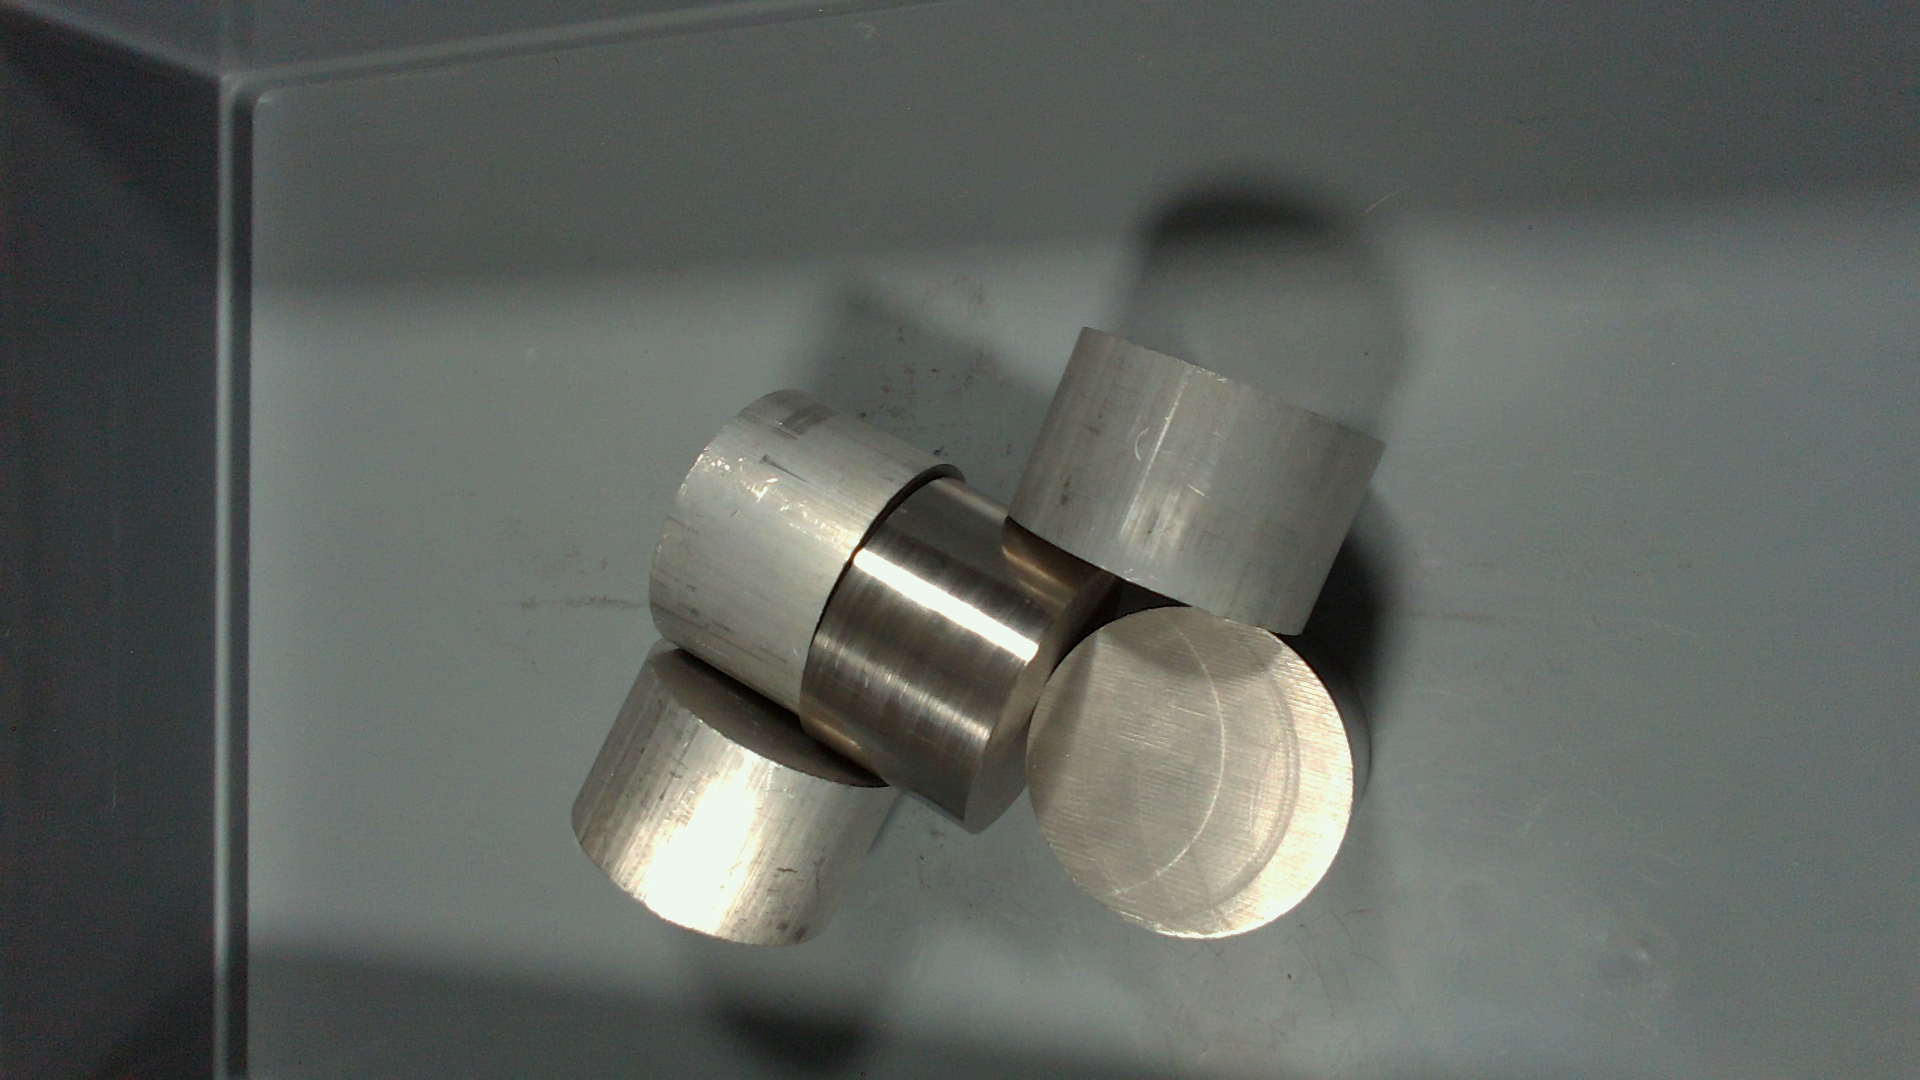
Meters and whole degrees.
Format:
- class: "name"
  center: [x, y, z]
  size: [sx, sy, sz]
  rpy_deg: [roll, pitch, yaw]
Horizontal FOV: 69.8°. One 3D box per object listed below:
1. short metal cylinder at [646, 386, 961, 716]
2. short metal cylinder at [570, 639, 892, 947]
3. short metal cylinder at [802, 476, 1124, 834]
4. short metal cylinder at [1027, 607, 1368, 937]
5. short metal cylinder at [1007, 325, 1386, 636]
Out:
- class: "short metal cylinder"
  center: [-0.040, 0.004, 0.380]
  size: [0.050, 0.080, 0.080]
  rpy_deg: [27, 99, 18]
- class: "short metal cylinder"
  center: [-0.061, 0.068, 0.388]
  size: [0.080, 0.080, 0.050]
  rpy_deg: [31, 100, 17]
- class: "short metal cylinder"
  center: [0.002, 0.030, 0.365]
  size: [0.050, 0.080, 0.080]
  rpy_deg: [28, 99, 18]
- class: "short metal cylinder"
  center: [0.063, 0.056, 0.358]
  size: [0.080, 0.050, 0.080]
  rpy_deg: [0, 90, 20]
- class: "short metal cylinder"
  center: [0.058, -0.016, 0.344]
  size: [0.080, 0.080, 0.050]
  rpy_deg: [24, 98, 18]
